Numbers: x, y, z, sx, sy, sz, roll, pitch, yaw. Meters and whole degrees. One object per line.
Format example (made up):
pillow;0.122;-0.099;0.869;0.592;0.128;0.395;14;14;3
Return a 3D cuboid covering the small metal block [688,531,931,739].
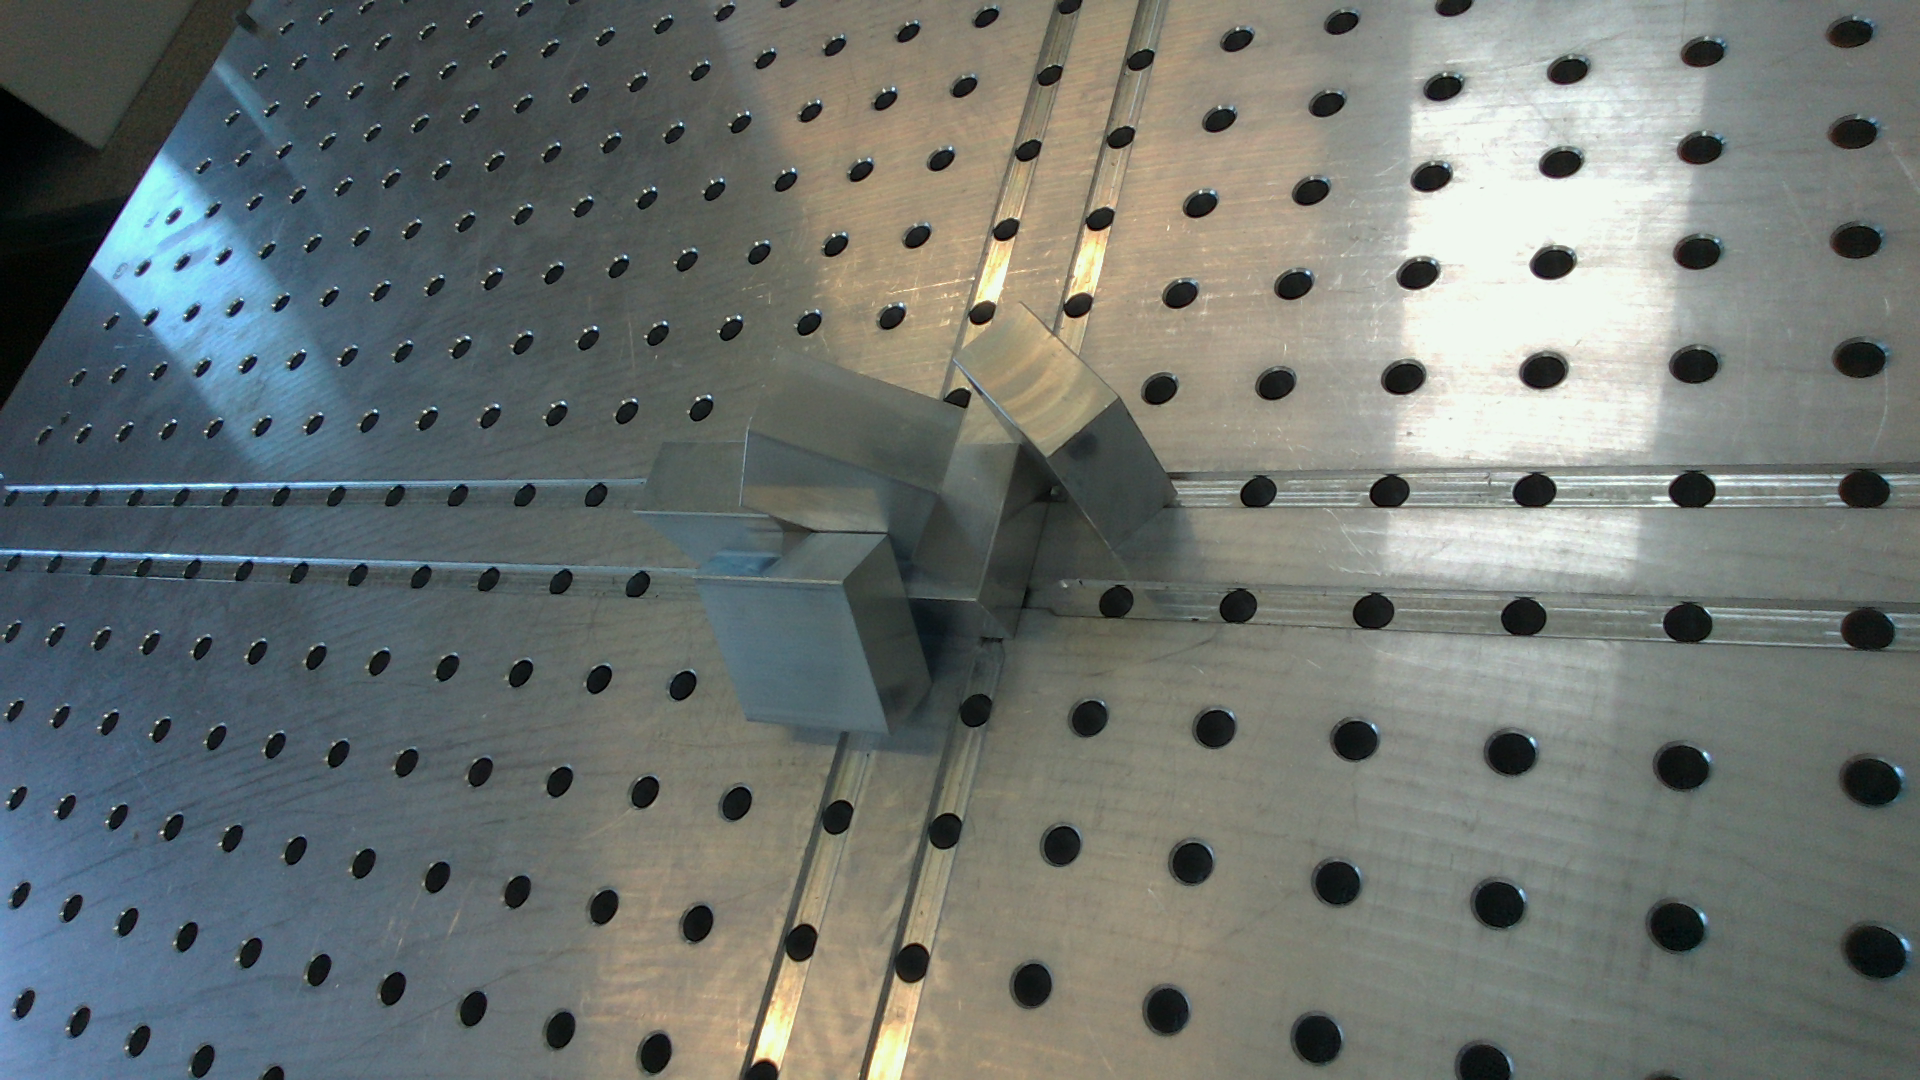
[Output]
small metal block;-0.041;0.026;0.384;0.050;0.050;0.025;1;30;29

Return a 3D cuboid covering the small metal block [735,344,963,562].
small metal block;-0.031;-0.022;0.365;0.050;0.050;0.025;18;67;-4

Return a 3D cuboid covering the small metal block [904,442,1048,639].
small metal block;-0.006;-0.001;0.400;0.050;0.025;0.050;2;62;28

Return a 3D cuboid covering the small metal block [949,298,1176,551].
small metal block;0.029;-0.032;0.385;0.025;0.050;0.050;-40;51;1

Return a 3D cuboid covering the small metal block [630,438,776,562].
small metal block;-0.062;-0.007;0.418;0.050;0.050;0.025;1;63;30
